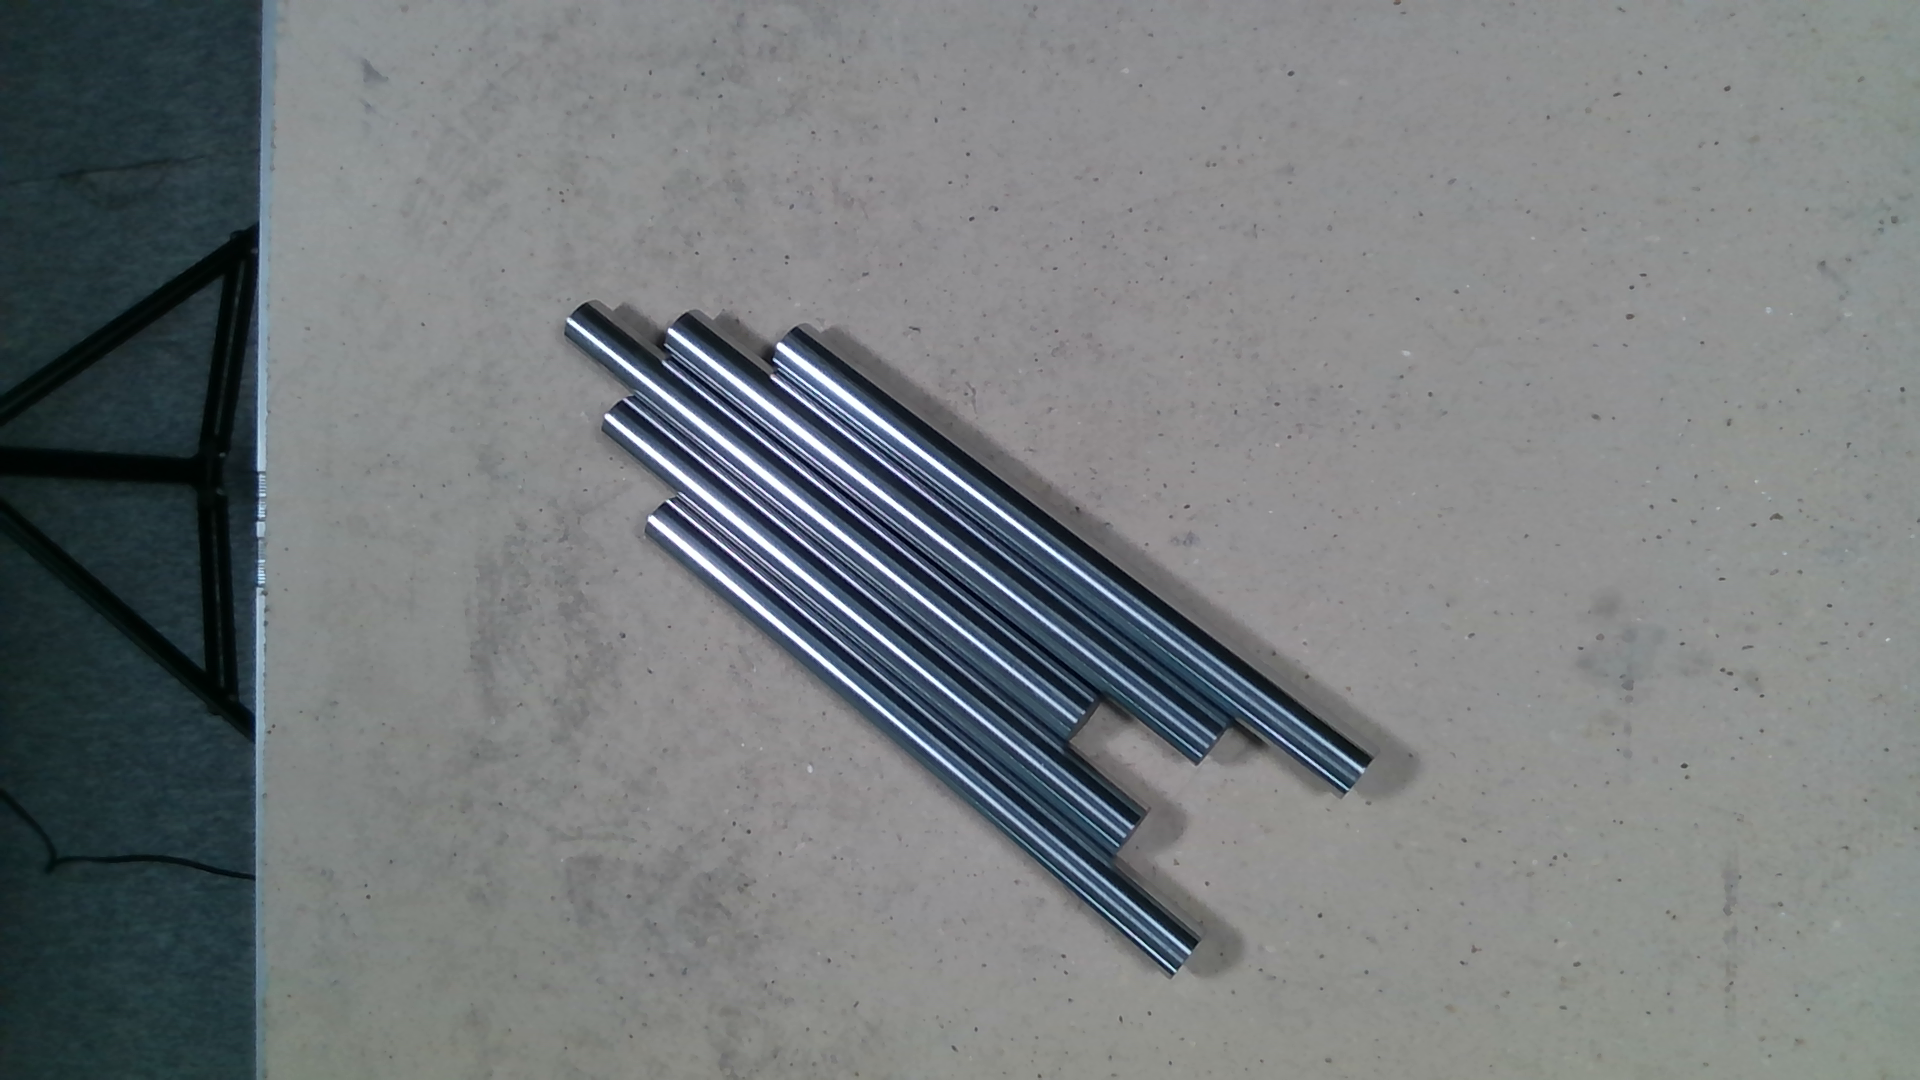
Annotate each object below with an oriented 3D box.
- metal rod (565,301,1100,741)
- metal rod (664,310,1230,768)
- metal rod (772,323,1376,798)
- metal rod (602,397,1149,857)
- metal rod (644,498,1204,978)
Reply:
[{"bbox_3d":[-0.063,-0.014,0.609,0.300,0.025,0.025,38,103,16],"label":"metal rod"},{"bbox_3d":[-0.013,-0.007,0.590,0.300,0.025,0.025,38,103,16],"label":"metal rod"},{"bbox_3d":[0.039,0.002,0.571,0.300,0.025,0.025,38,103,16],"label":"metal rod"},{"bbox_3d":[-0.044,0.031,0.602,0.300,0.025,0.025,38,103,16],"label":"metal rod"},{"bbox_3d":[-0.023,0.078,0.595,0.300,0.025,0.025,38,103,16],"label":"metal rod"}]
